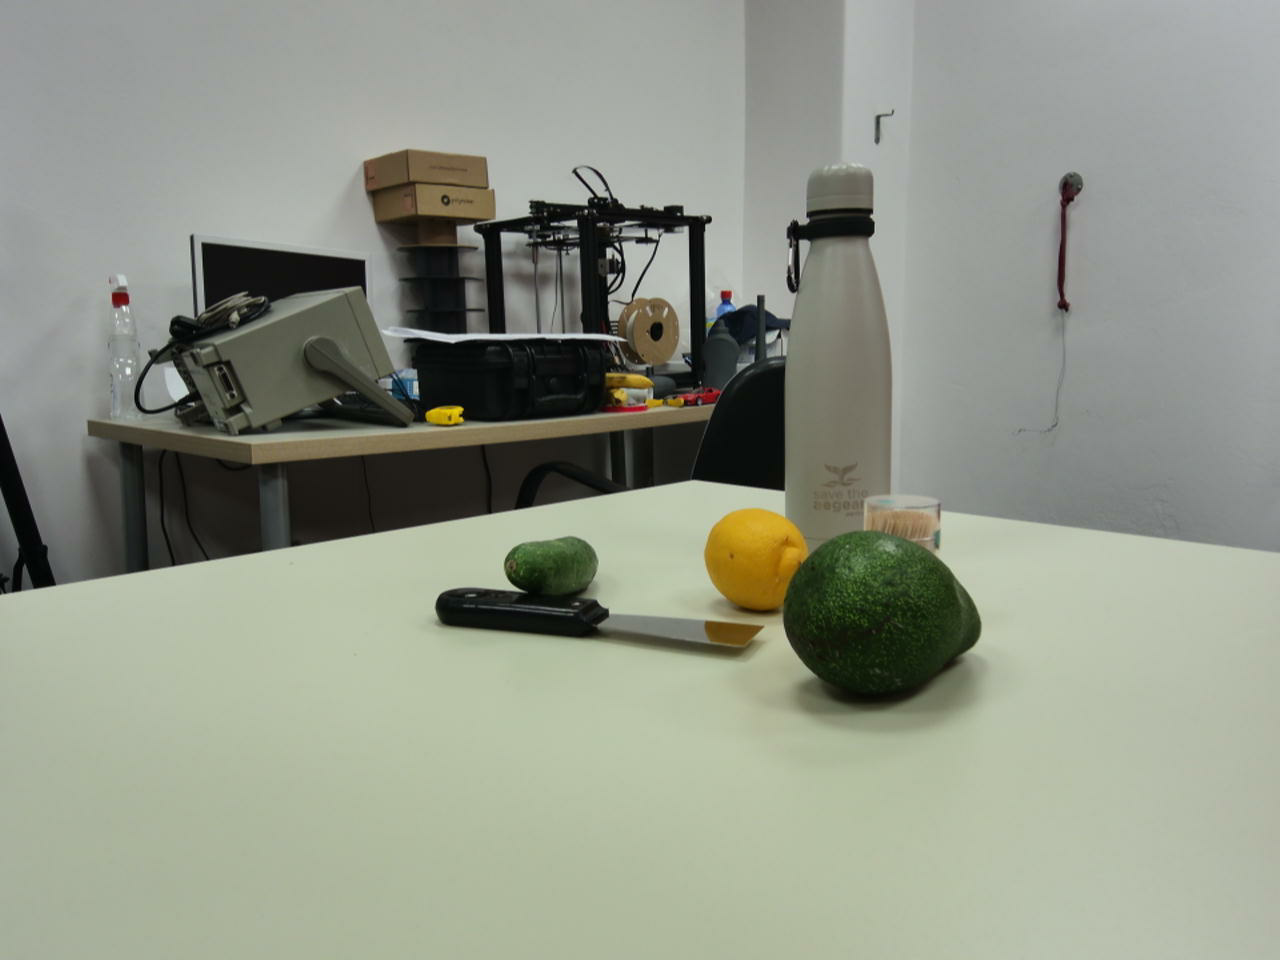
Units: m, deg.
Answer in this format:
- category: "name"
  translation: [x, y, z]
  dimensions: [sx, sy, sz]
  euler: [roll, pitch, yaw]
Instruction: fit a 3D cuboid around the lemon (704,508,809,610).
- category: "lemon"
  translation: [0.070, 0.048, 0.603]
  dimensions: [0.061, 0.059, 0.067]
  euler: [0, 6, -1]
